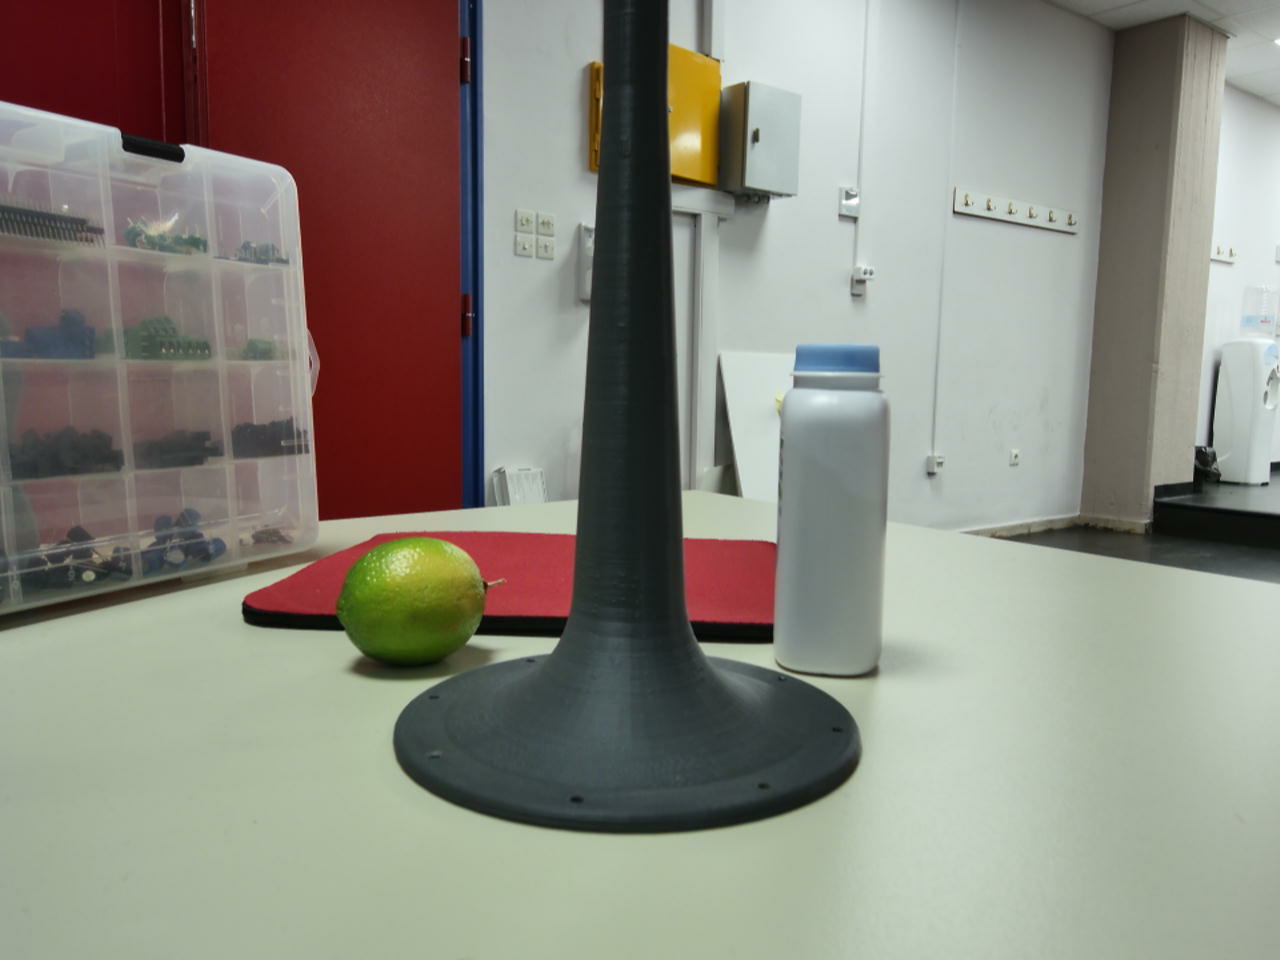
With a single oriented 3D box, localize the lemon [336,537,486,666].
[{"bbox_3d":[-0.092,0.048,0.402,0.055,0.050,0.054,0,4,12],"label":"lemon"}]
